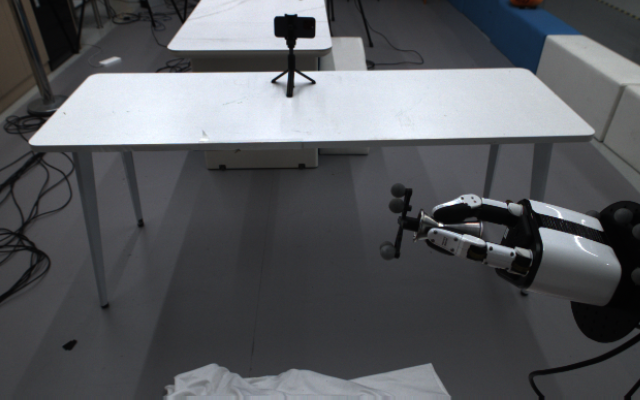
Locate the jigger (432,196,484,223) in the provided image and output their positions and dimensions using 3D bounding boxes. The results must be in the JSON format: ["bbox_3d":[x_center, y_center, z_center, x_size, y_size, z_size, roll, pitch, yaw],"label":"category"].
[{"bbox_3d":[0.150,0.033,0.547,0.071,0.043,0.043,12,36,5],"label":"jigger"}]
